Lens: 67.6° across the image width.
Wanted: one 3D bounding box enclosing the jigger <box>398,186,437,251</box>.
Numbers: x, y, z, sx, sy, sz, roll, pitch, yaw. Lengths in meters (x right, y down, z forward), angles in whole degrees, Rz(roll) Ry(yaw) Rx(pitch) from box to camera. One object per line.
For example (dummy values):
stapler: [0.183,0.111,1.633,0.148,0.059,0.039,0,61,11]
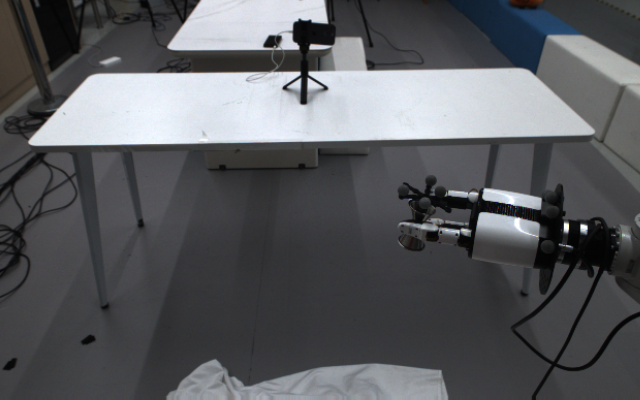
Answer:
jigger: [0.148,0.039,0.747,0.043,0.071,0.043,9,30,-5]
